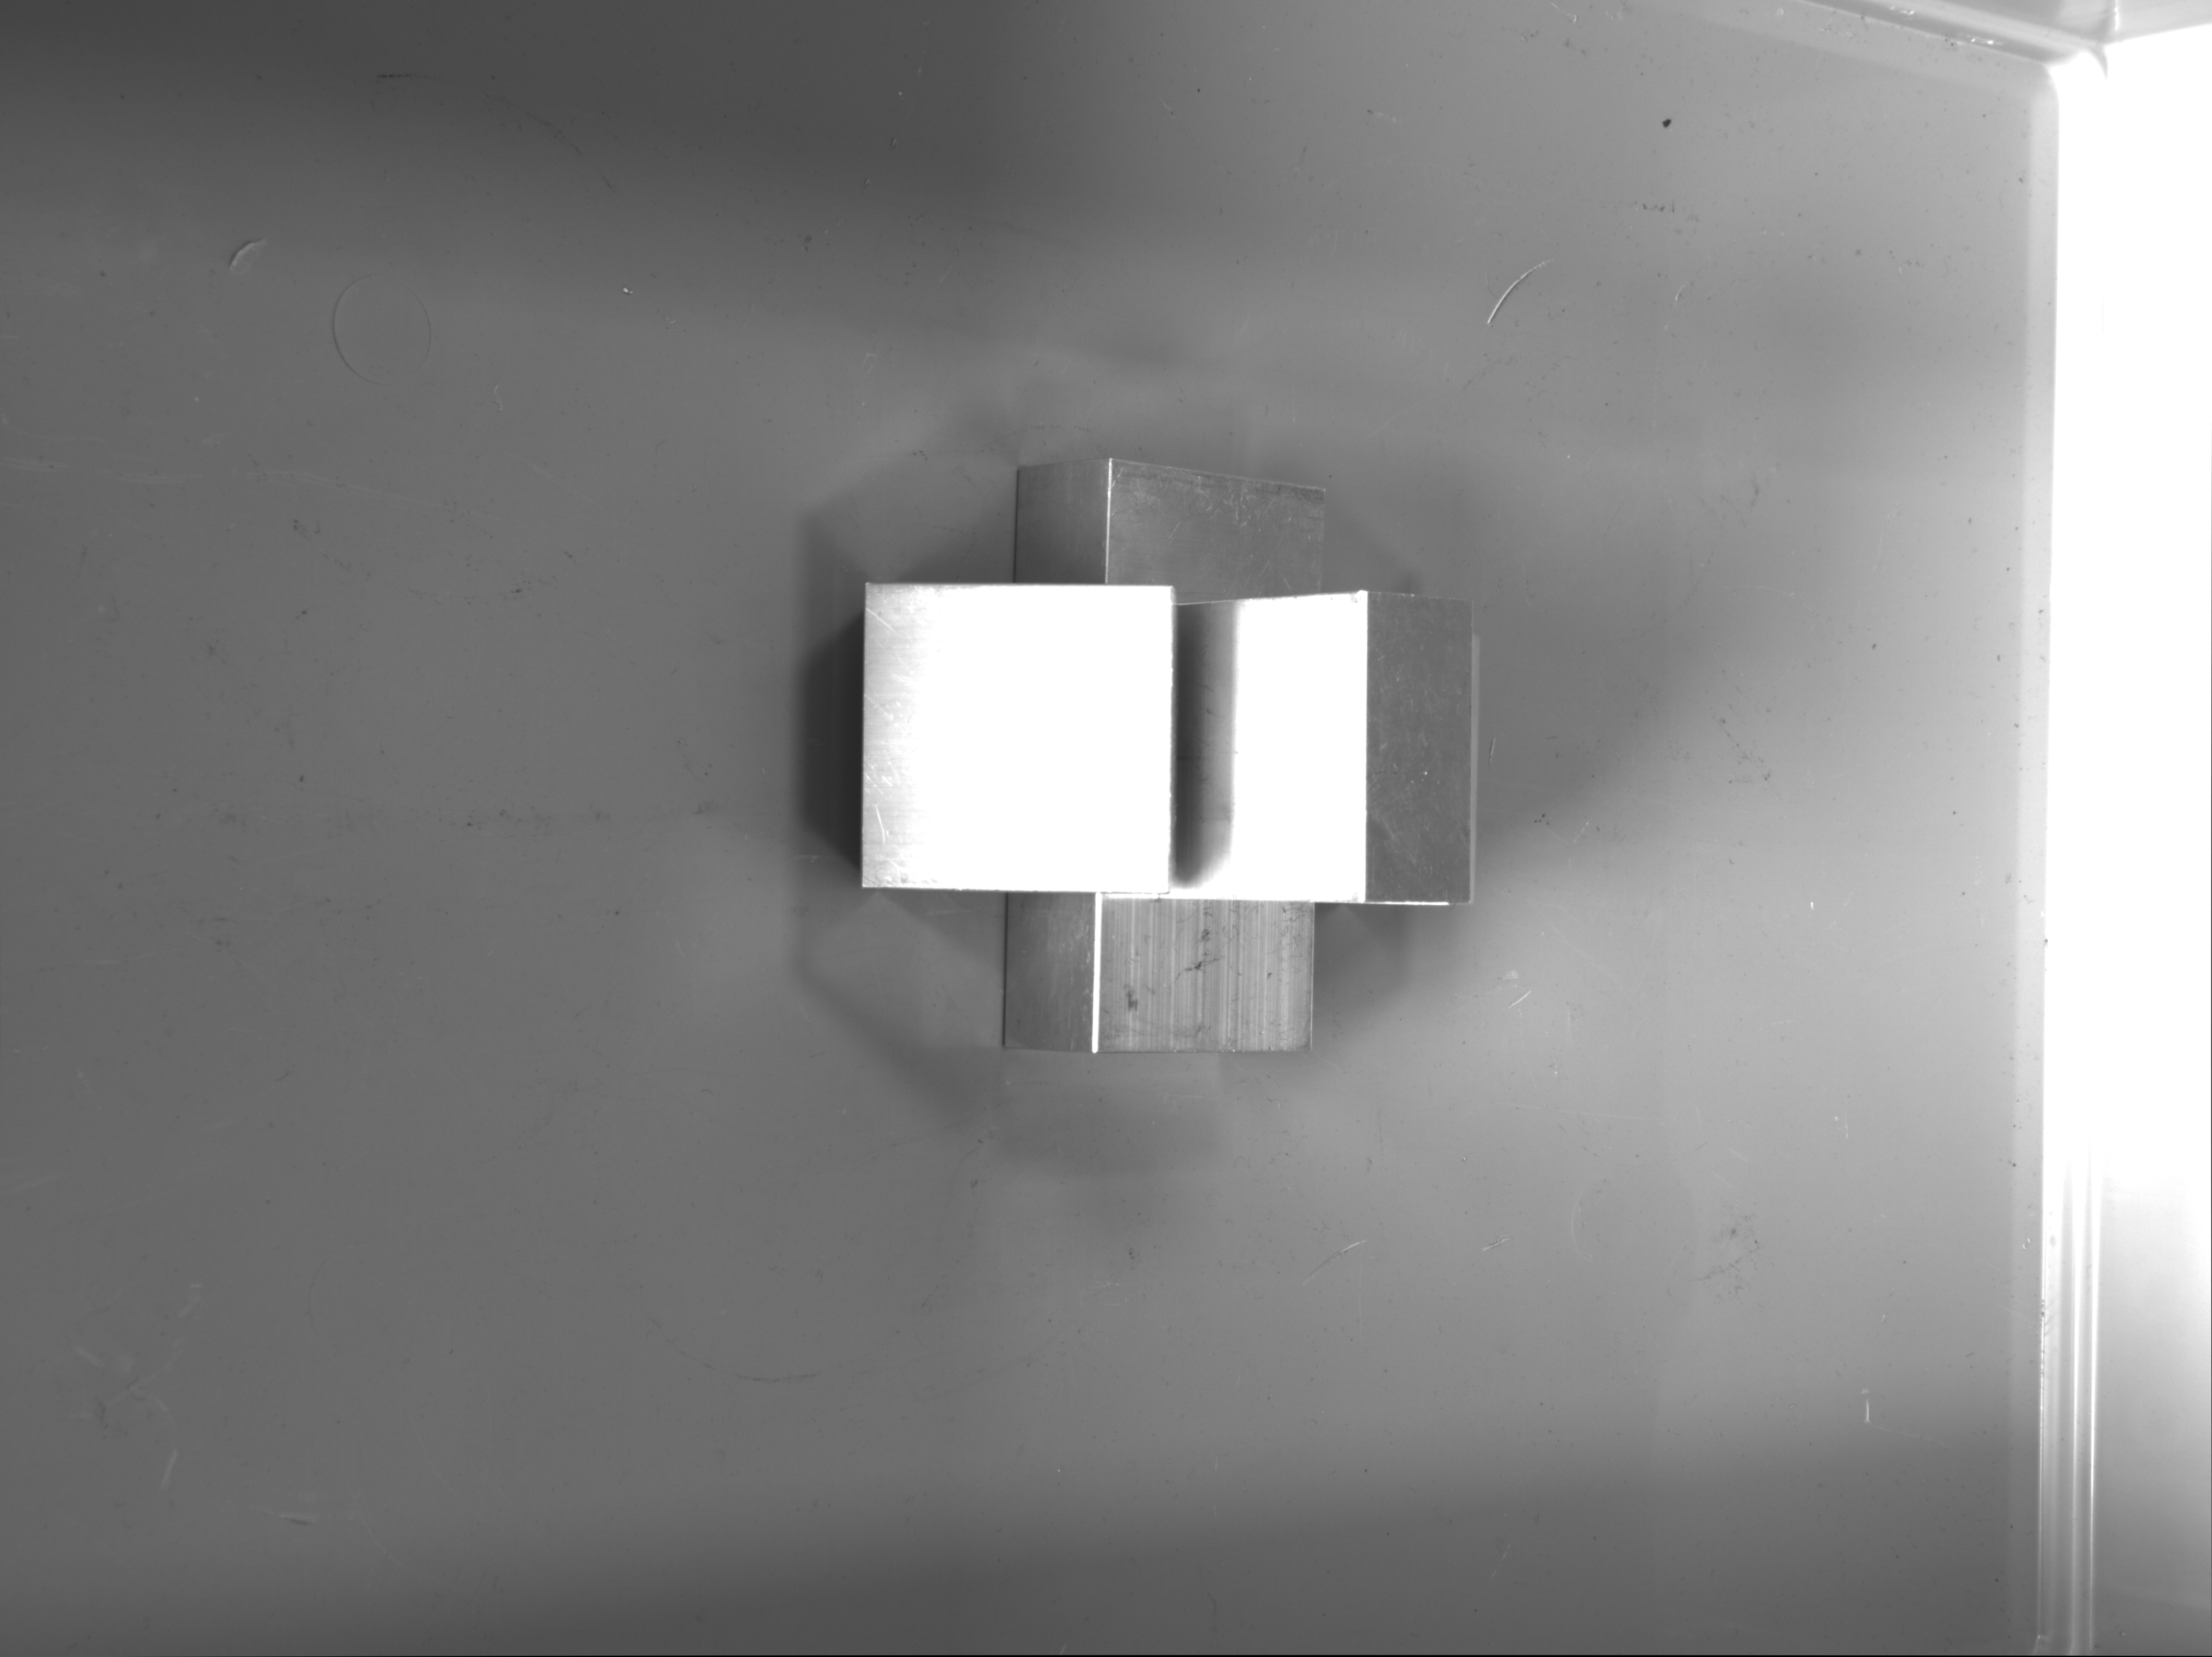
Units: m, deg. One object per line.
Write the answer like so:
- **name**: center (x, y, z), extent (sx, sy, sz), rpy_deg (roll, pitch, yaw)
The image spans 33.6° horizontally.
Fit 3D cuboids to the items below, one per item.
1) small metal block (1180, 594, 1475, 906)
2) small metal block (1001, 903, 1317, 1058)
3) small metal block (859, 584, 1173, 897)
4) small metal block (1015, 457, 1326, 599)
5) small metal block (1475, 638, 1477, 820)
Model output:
- **small metal block**: center (0.035, -0.012, 0.613), extent (0.025, 0.050, 0.050), rpy_deg (1, 89, -40)
- **small metal block**: center (0.010, 0.014, 0.642), extent (0.050, 0.025, 0.050), rpy_deg (3, 88, -39)
- **small metal block**: center (-0.014, -0.014, 0.605), extent (0.050, 0.025, 0.050), rpy_deg (1, 90, 4)
- **small metal block**: center (0.011, -0.036, 0.642), extent (0.050, 0.025, 0.050), rpy_deg (3, 88, -40)
- **small metal block**: center (0.052, -0.011, 0.662), extent (0.050, 0.025, 0.050), rpy_deg (7, 85, -79)
